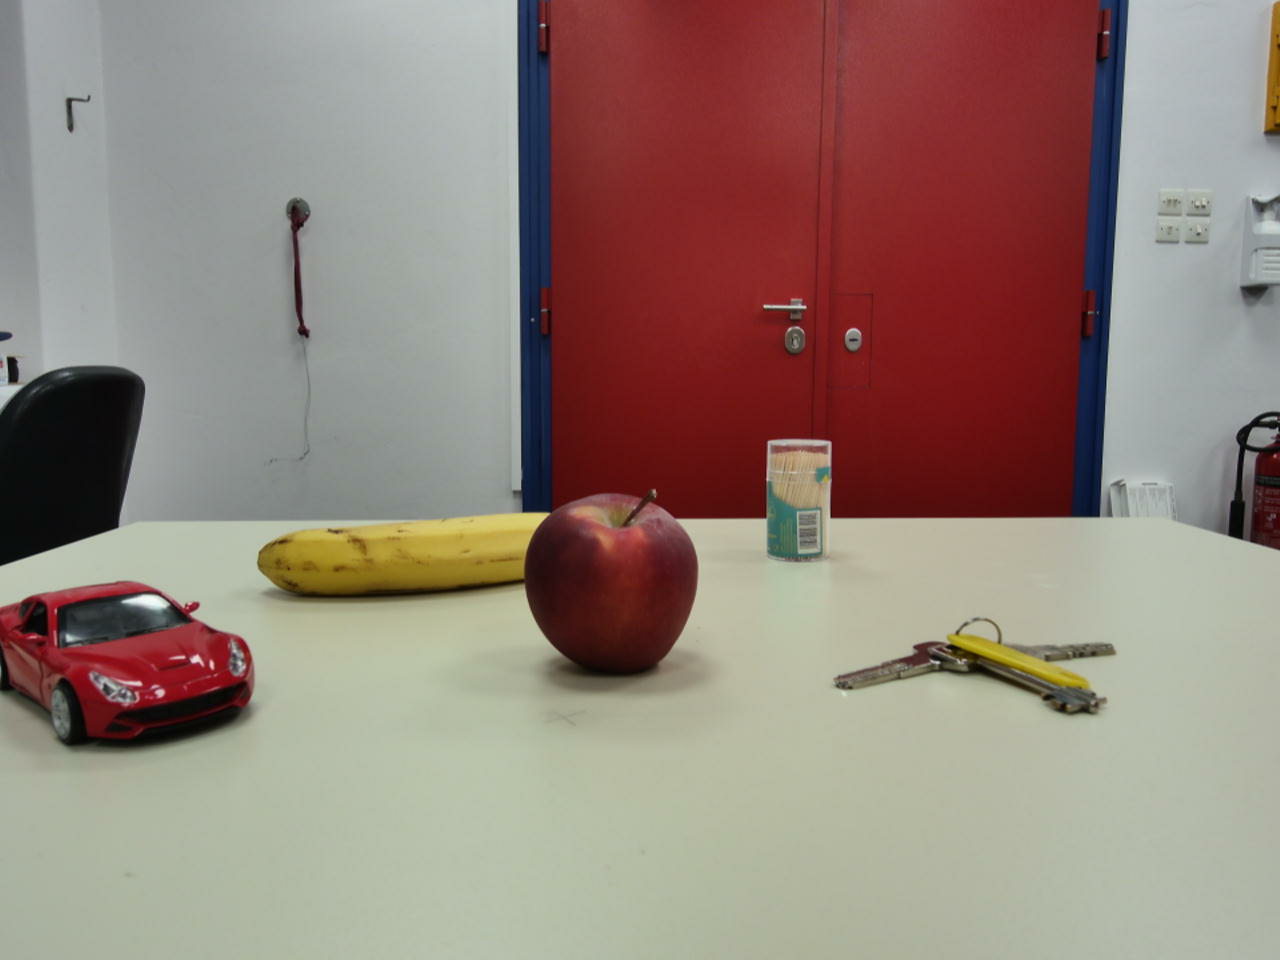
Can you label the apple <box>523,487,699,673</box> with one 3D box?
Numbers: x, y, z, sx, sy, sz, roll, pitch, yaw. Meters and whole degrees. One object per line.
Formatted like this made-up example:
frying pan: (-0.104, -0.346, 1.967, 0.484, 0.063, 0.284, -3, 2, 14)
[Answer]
apple: (-0.011, 0.039, 0.404, 0.070, 0.072, 0.070, -1, 4, 0)
